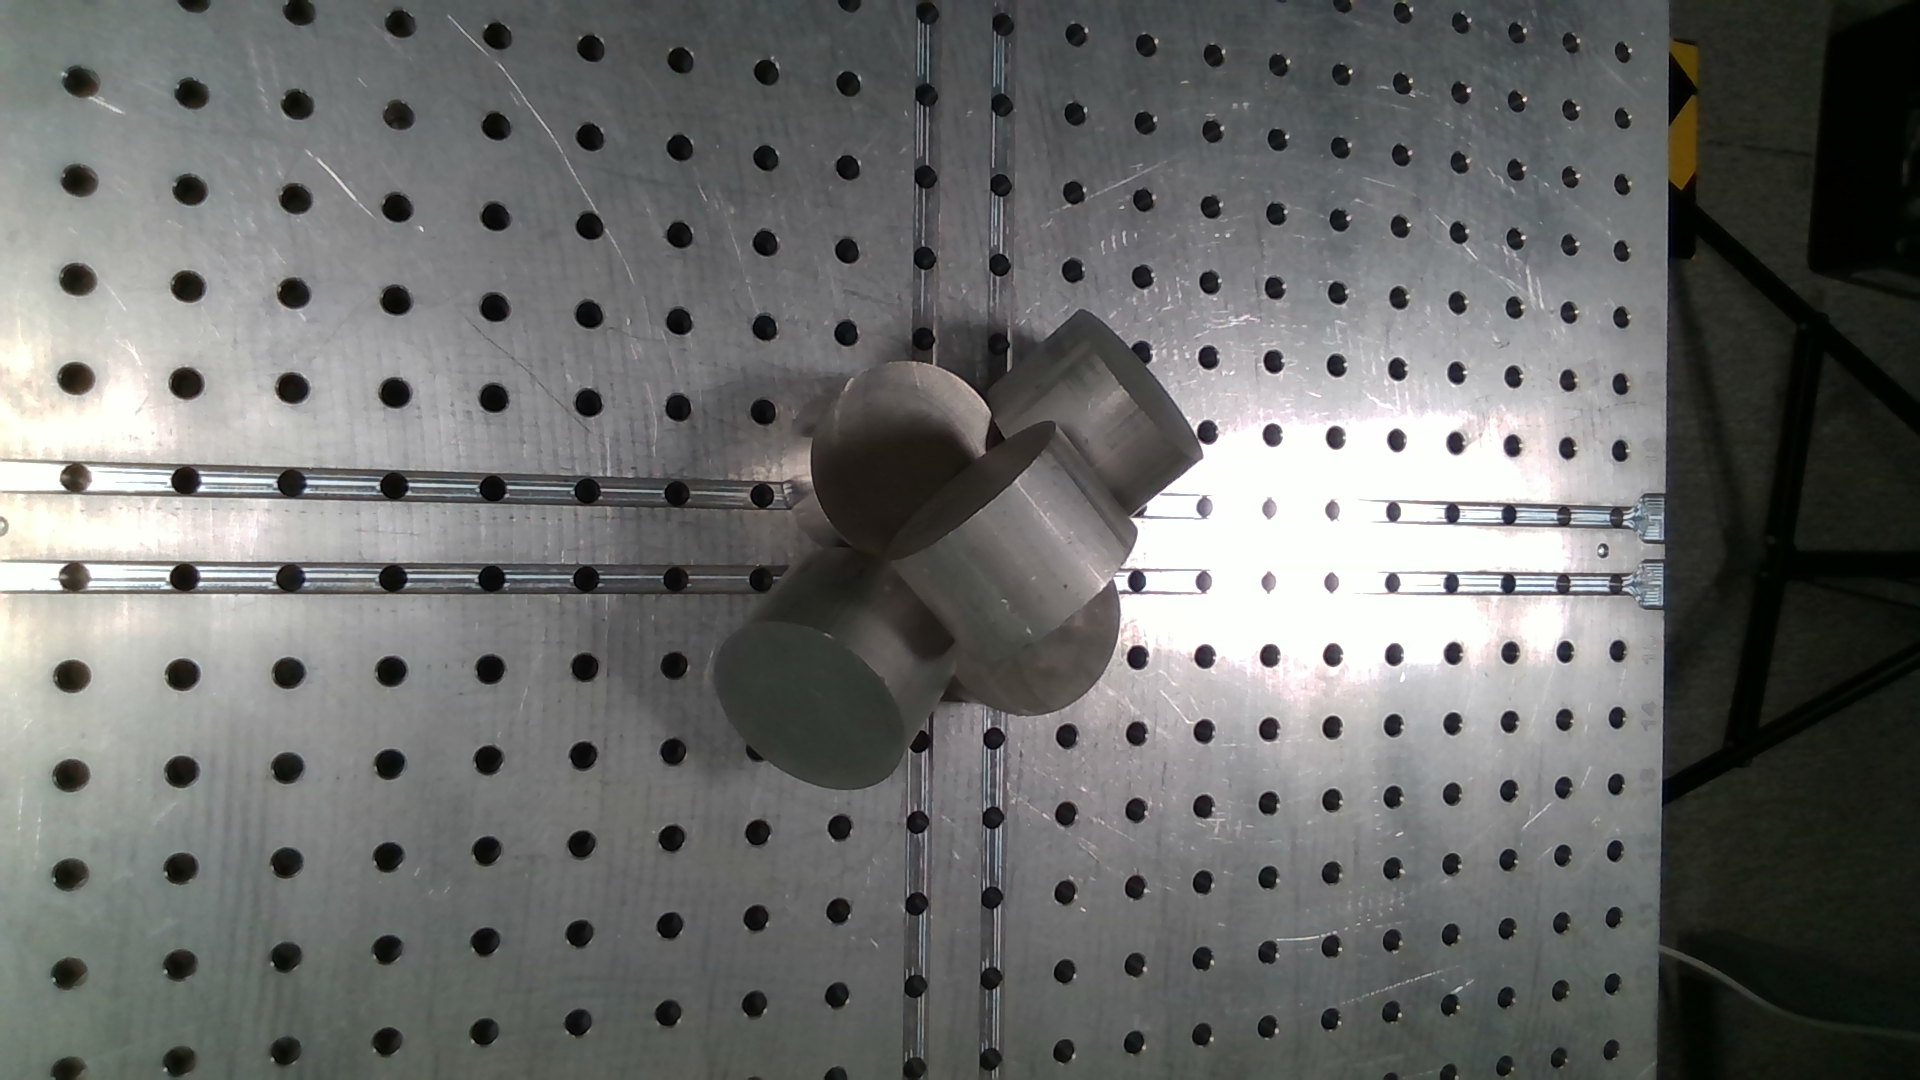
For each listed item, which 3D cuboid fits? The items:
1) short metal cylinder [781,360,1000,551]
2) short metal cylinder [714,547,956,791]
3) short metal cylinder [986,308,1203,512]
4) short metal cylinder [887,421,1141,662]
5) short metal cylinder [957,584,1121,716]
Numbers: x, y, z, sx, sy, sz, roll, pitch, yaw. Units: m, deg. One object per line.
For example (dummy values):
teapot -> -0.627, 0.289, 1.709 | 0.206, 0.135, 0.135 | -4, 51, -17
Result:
short metal cylinder -> -0.029, -0.031, 0.564 | 0.080, 0.050, 0.080 | 0, 90, -20
short metal cylinder -> -0.048, 0.050, 0.534 | 0.080, 0.080, 0.050 | 51, 39, -13
short metal cylinder -> 0.056, -0.049, 0.572 | 0.050, 0.080, 0.080 | -39, 105, 19
short metal cylinder -> 0.020, 0.000, 0.512 | 0.080, 0.080, 0.050 | -43, 104, -15
short metal cylinder -> 0.021, 0.031, 0.582 | 0.080, 0.050, 0.080 | 0, 90, -20
